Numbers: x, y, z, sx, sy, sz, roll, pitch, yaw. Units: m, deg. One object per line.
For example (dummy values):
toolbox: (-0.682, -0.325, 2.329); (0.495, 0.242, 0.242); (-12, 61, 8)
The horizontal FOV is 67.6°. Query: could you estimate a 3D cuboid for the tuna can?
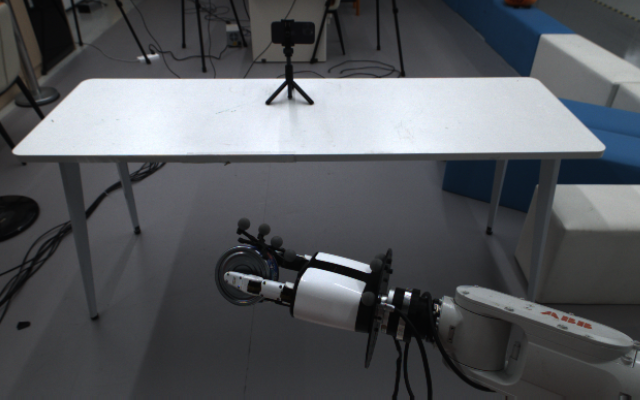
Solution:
tuna can: (-0.100, 0.111, 0.675); (0.085, 0.085, 0.034); (12, 4, 15)
